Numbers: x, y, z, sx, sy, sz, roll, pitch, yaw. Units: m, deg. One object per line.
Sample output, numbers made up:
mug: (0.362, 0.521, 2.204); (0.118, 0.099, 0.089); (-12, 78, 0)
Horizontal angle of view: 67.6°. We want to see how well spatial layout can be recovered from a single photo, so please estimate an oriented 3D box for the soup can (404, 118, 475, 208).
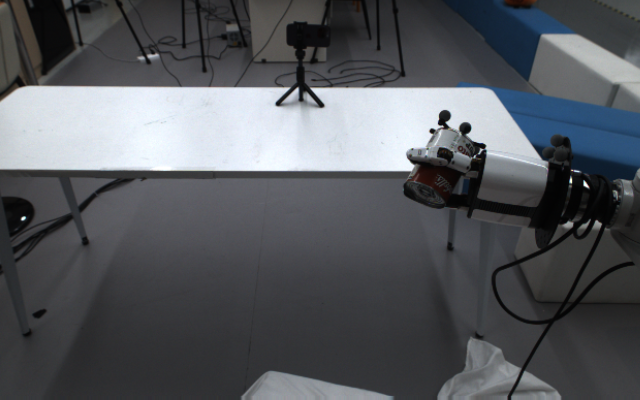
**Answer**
soup can: (0.178, -0.048, 0.711); (0.067, 0.067, 0.101); (23, 73, 28)
